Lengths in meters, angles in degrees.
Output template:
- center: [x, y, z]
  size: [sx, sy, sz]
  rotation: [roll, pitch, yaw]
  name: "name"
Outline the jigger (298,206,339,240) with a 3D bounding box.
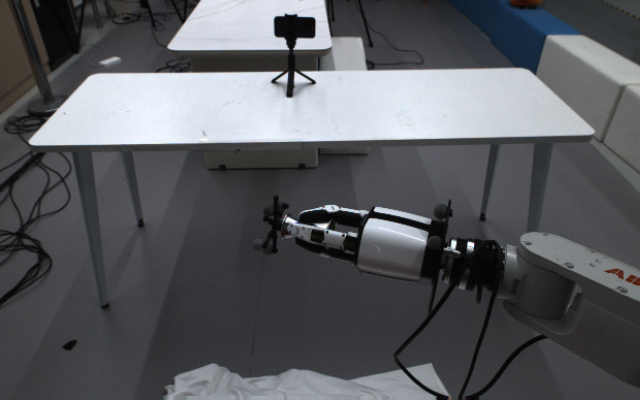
- center: [-0.011, 0.039, 0.690]
  size: [0.071, 0.043, 0.043]
  rotation: [8, 35, 16]
  name: "jigger"
